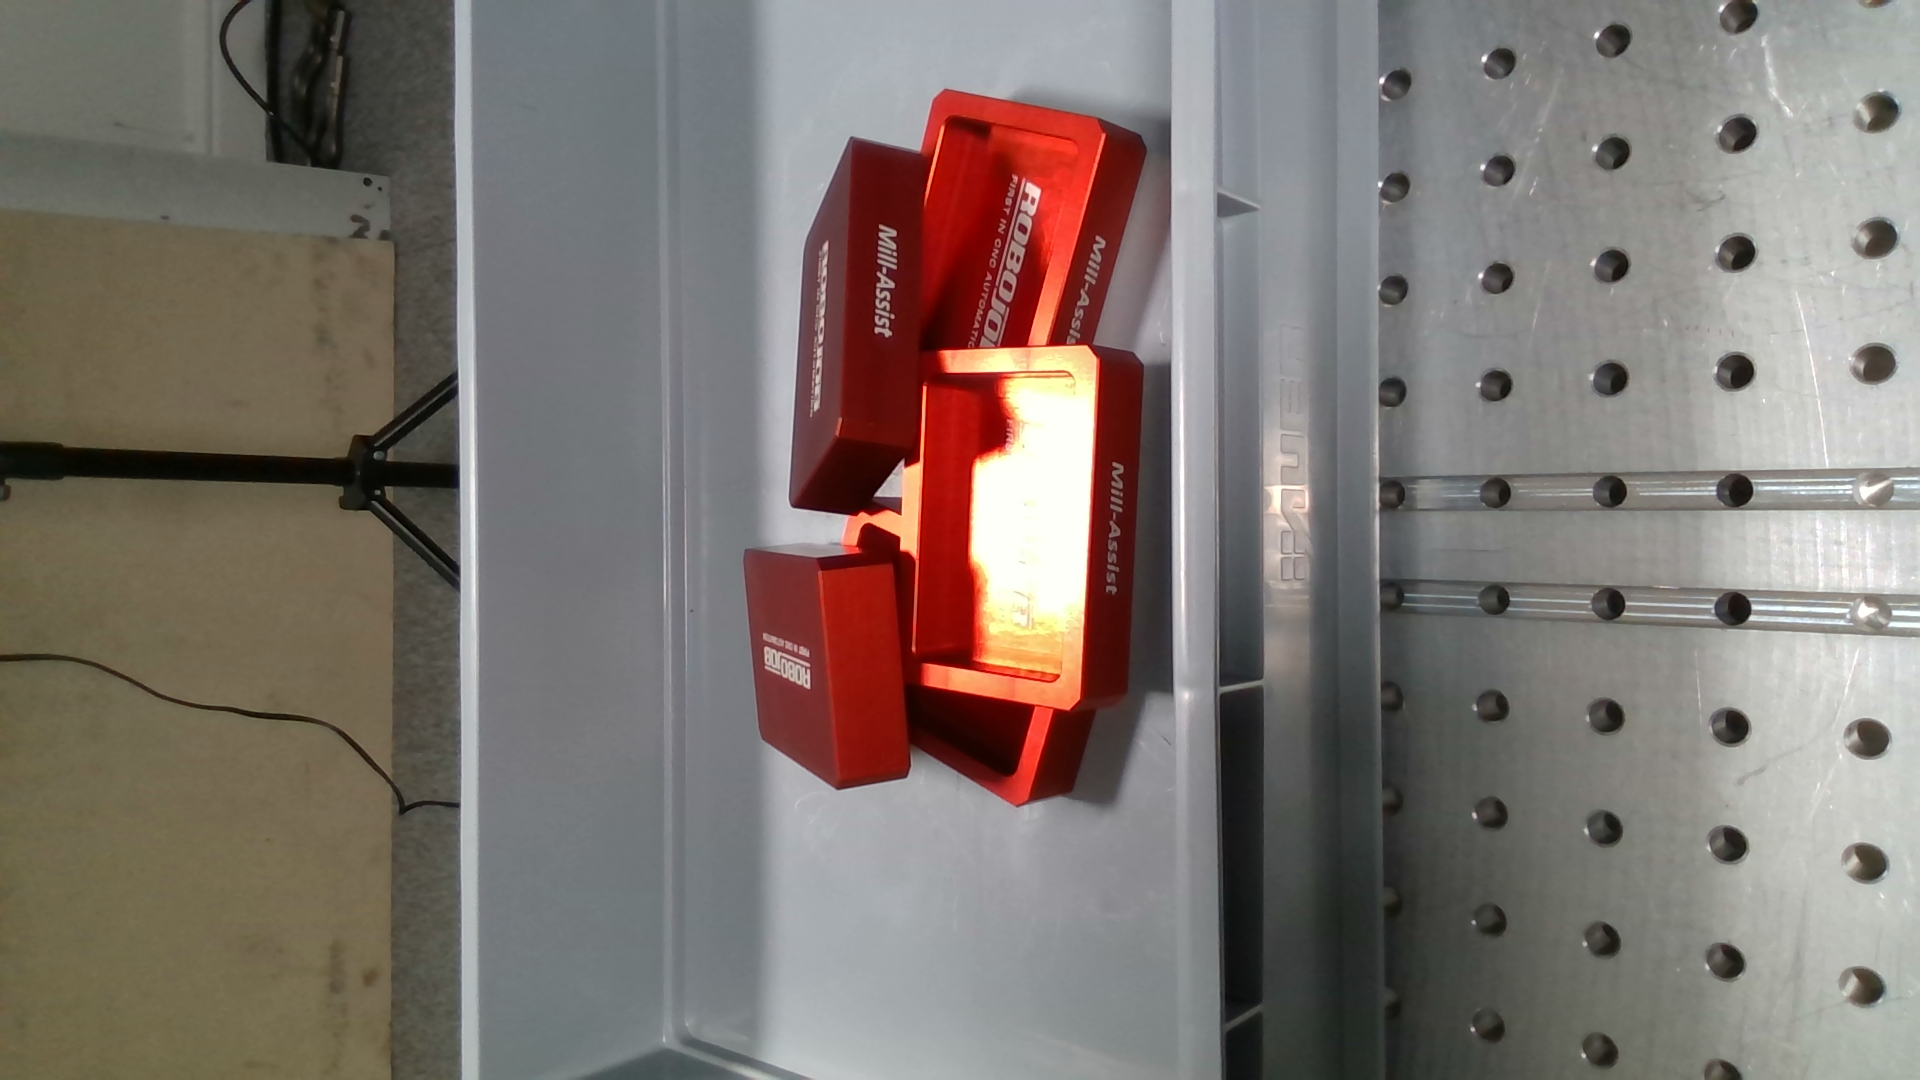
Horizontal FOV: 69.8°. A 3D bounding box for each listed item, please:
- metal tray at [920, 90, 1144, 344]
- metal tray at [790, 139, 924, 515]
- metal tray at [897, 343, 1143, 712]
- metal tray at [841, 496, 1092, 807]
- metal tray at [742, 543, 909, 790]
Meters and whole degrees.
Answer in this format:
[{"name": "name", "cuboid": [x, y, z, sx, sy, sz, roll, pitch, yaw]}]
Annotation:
[{"name": "metal tray", "cuboid": [0.014, -0.109, 0.562, 0.090, 0.030, 0.130, 25, 106, 37]}, {"name": "metal tray", "cuboid": [-0.044, -0.086, 0.569, 0.090, 0.030, 0.130, 137, 138, -64]}, {"name": "metal tray", "cuboid": [0.020, -0.006, 0.520, 0.090, 0.030, 0.130, 5, 94, 40]}, {"name": "metal tray", "cuboid": [-0.001, 0.043, 0.578, 0.130, 0.030, 0.090, 24, 106, 37]}, {"name": "metal tray", "cuboid": [-0.060, 0.048, 0.587, 0.130, 0.030, 0.090, -176, 80, -69]}]
